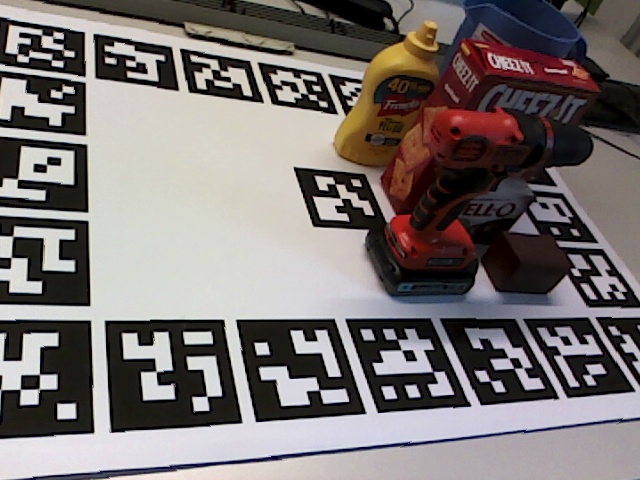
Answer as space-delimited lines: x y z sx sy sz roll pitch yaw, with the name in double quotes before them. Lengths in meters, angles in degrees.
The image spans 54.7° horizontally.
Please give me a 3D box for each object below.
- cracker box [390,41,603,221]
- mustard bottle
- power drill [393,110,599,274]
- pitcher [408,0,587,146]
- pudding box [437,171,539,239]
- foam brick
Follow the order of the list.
"cracker box" 0.202 -0.117 0.737 0.163 0.213 0.072 -1 48 -24
"mustard bottle" 0.097 -0.194 0.769 0.096 0.191 0.058 13 46 -15
"power drill" 0.170 -0.046 0.631 0.183 0.187 0.057 2 45 -26
"pitcher" 0.221 -0.196 0.815 0.188 0.242 0.134 6 47 -18
"pudding box" 0.188 -0.045 0.741 0.113 0.090 0.039 1 47 -21
"foam brick" 0.245 0.027 0.747 0.077 0.051 0.053 4 49 -23
